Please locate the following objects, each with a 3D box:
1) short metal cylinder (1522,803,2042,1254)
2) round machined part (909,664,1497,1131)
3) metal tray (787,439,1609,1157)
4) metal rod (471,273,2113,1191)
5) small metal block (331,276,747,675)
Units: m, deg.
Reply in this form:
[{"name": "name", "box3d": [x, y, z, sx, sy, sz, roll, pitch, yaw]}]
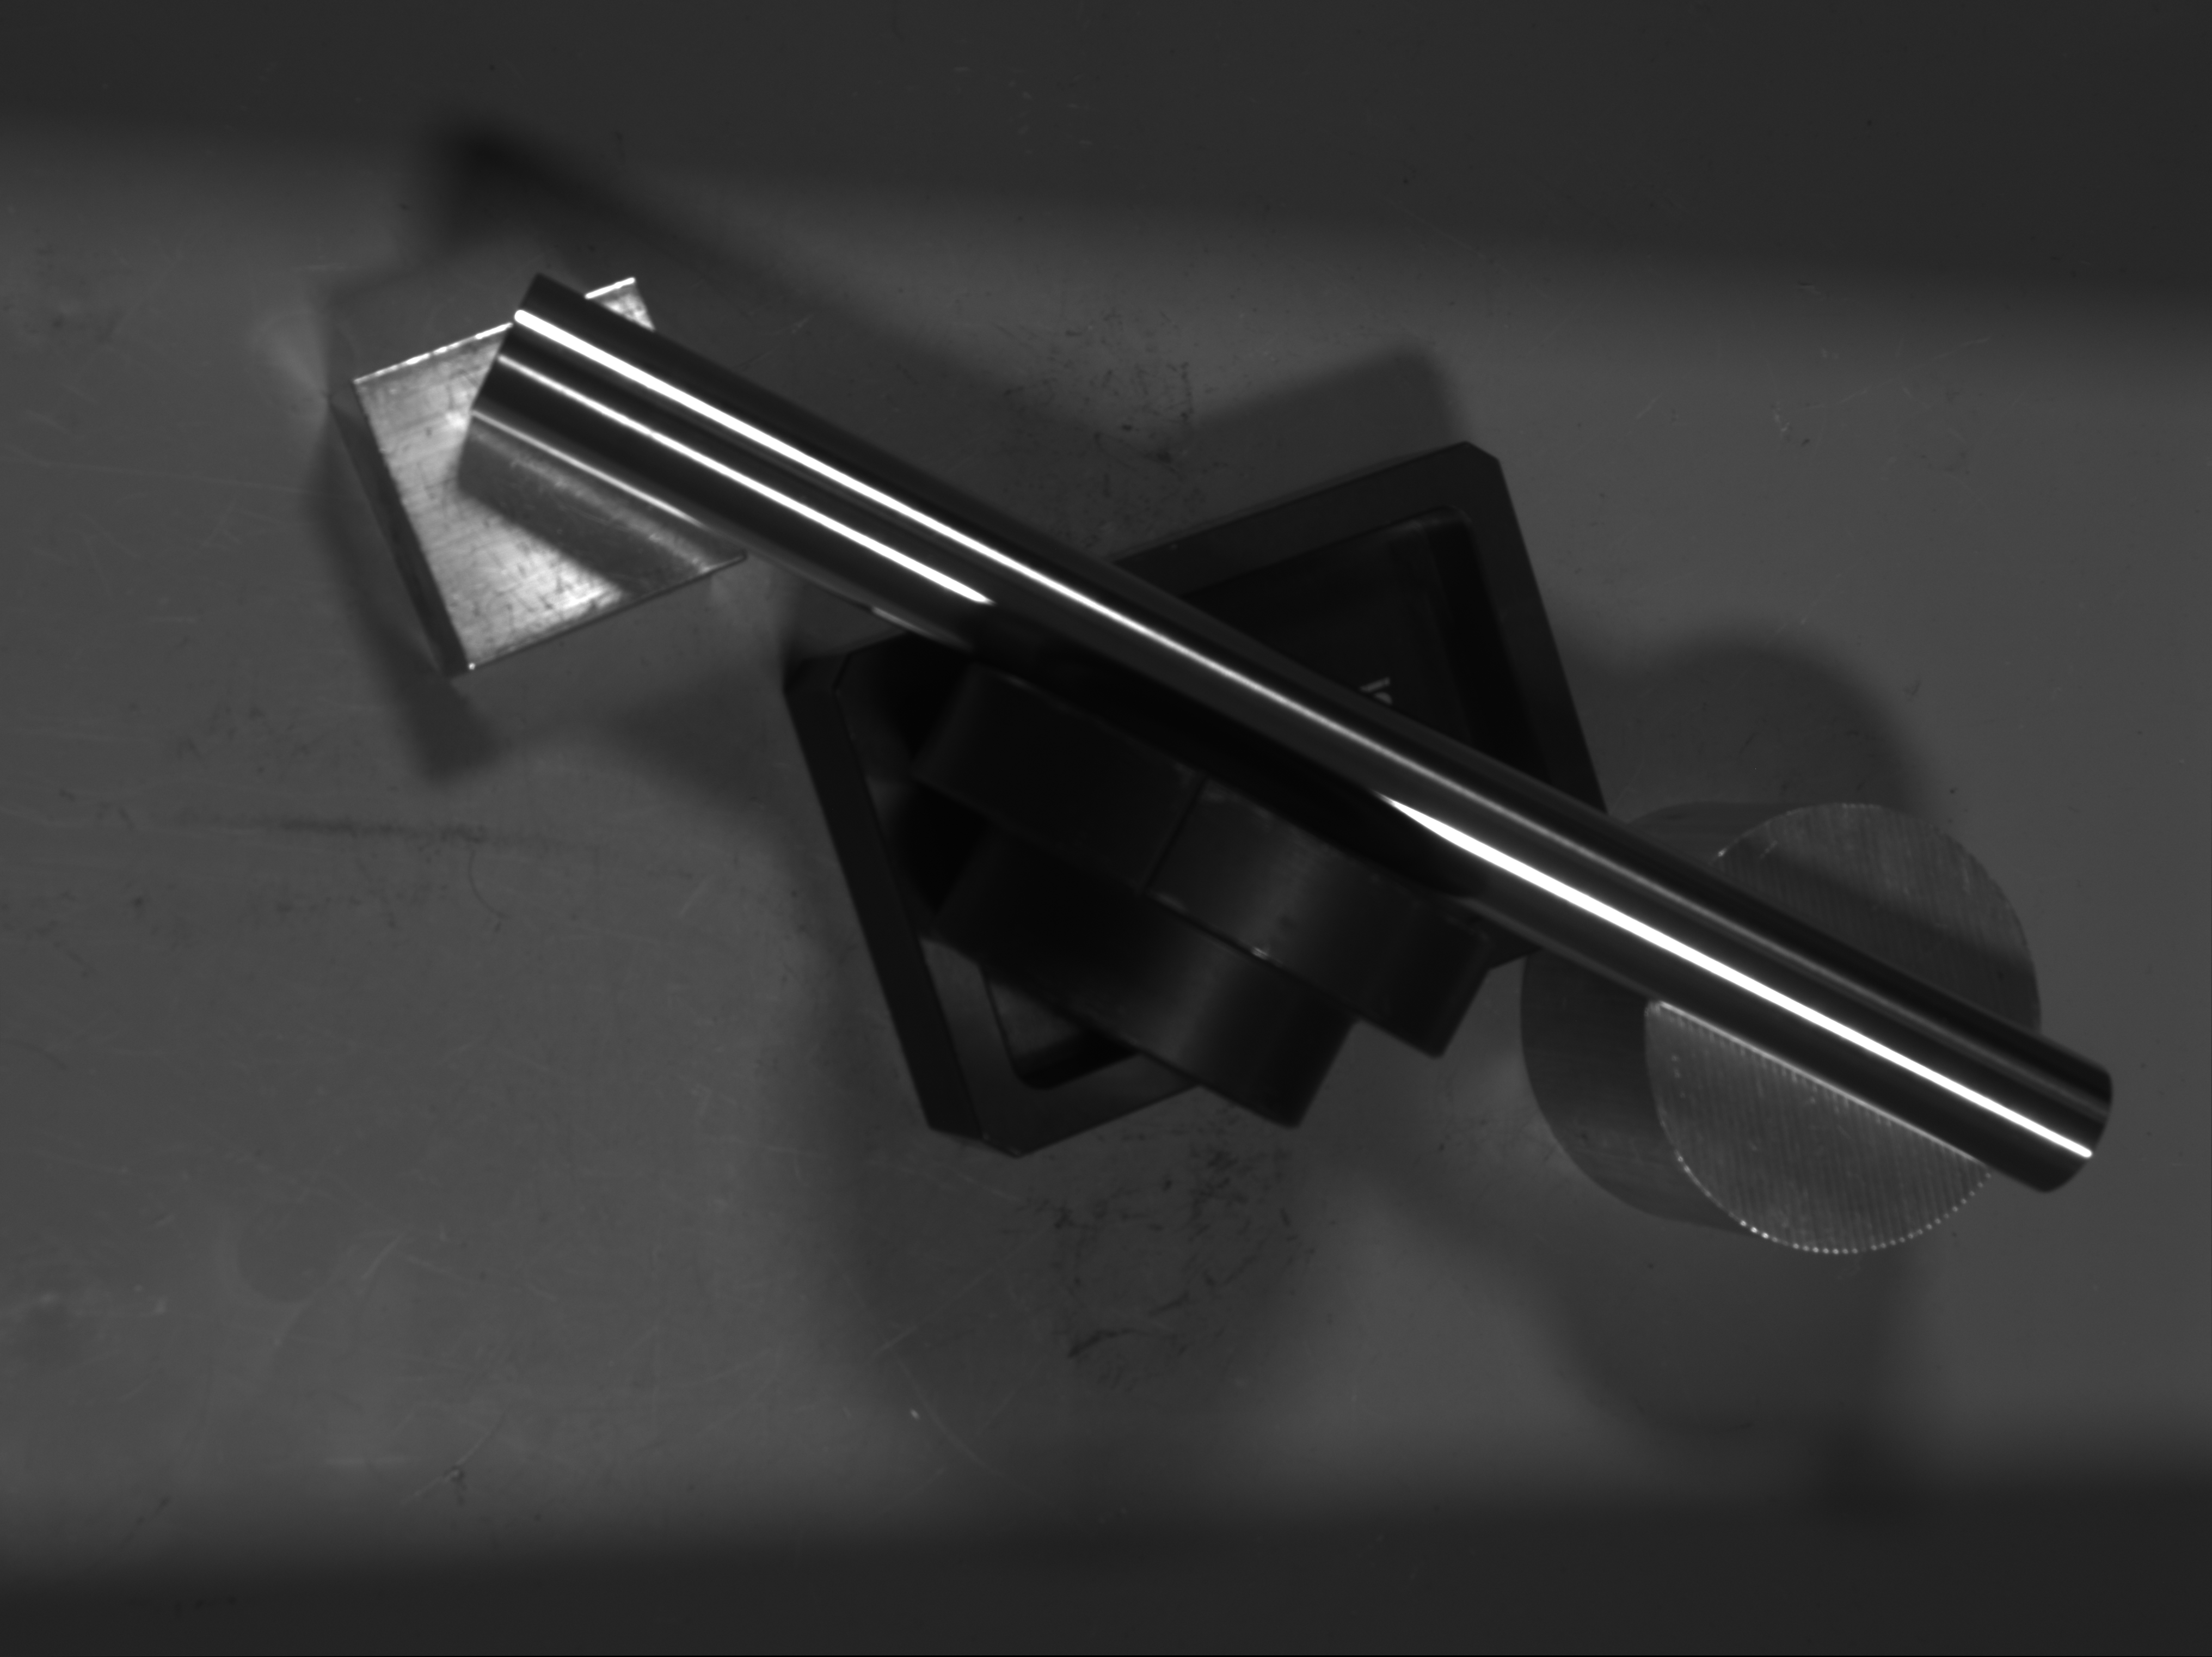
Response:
[{"name": "short metal cylinder", "box3d": [0.124, 0.036, 0.674, 0.080, 0.050, 0.080, 0, 90, -20]}, {"name": "round machined part", "box3d": [0.011, 0.015, 0.593, 0.098, 0.098, 0.042, 29, 88, -17]}, {"name": "metal tray", "box3d": [0.020, -0.007, 0.646, 0.130, 0.030, 0.090, -20, 97, -19]}, {"name": "metal rod", "box3d": [0.037, -0.012, 0.612, 0.300, 0.025, 0.025, 26, 81, -12]}, {"name": "small metal block", "box3d": [-0.094, -0.058, 0.608, 0.050, 0.025, 0.050, -23, 98, -18]}]
